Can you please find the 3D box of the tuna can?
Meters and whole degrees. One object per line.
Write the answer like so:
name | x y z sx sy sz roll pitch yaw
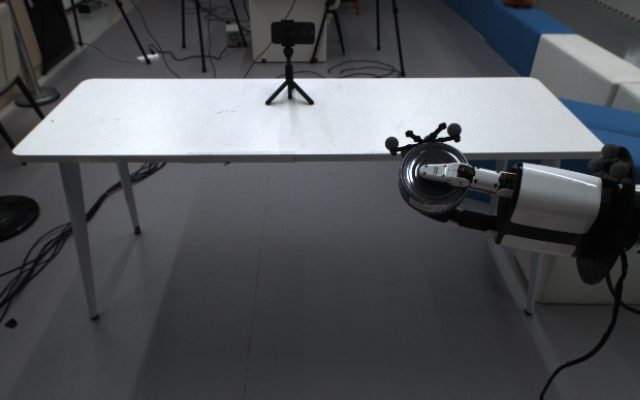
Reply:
tuna can | 0.144 -0.022 0.591 0.085 0.034 0.085 -4 68 9
